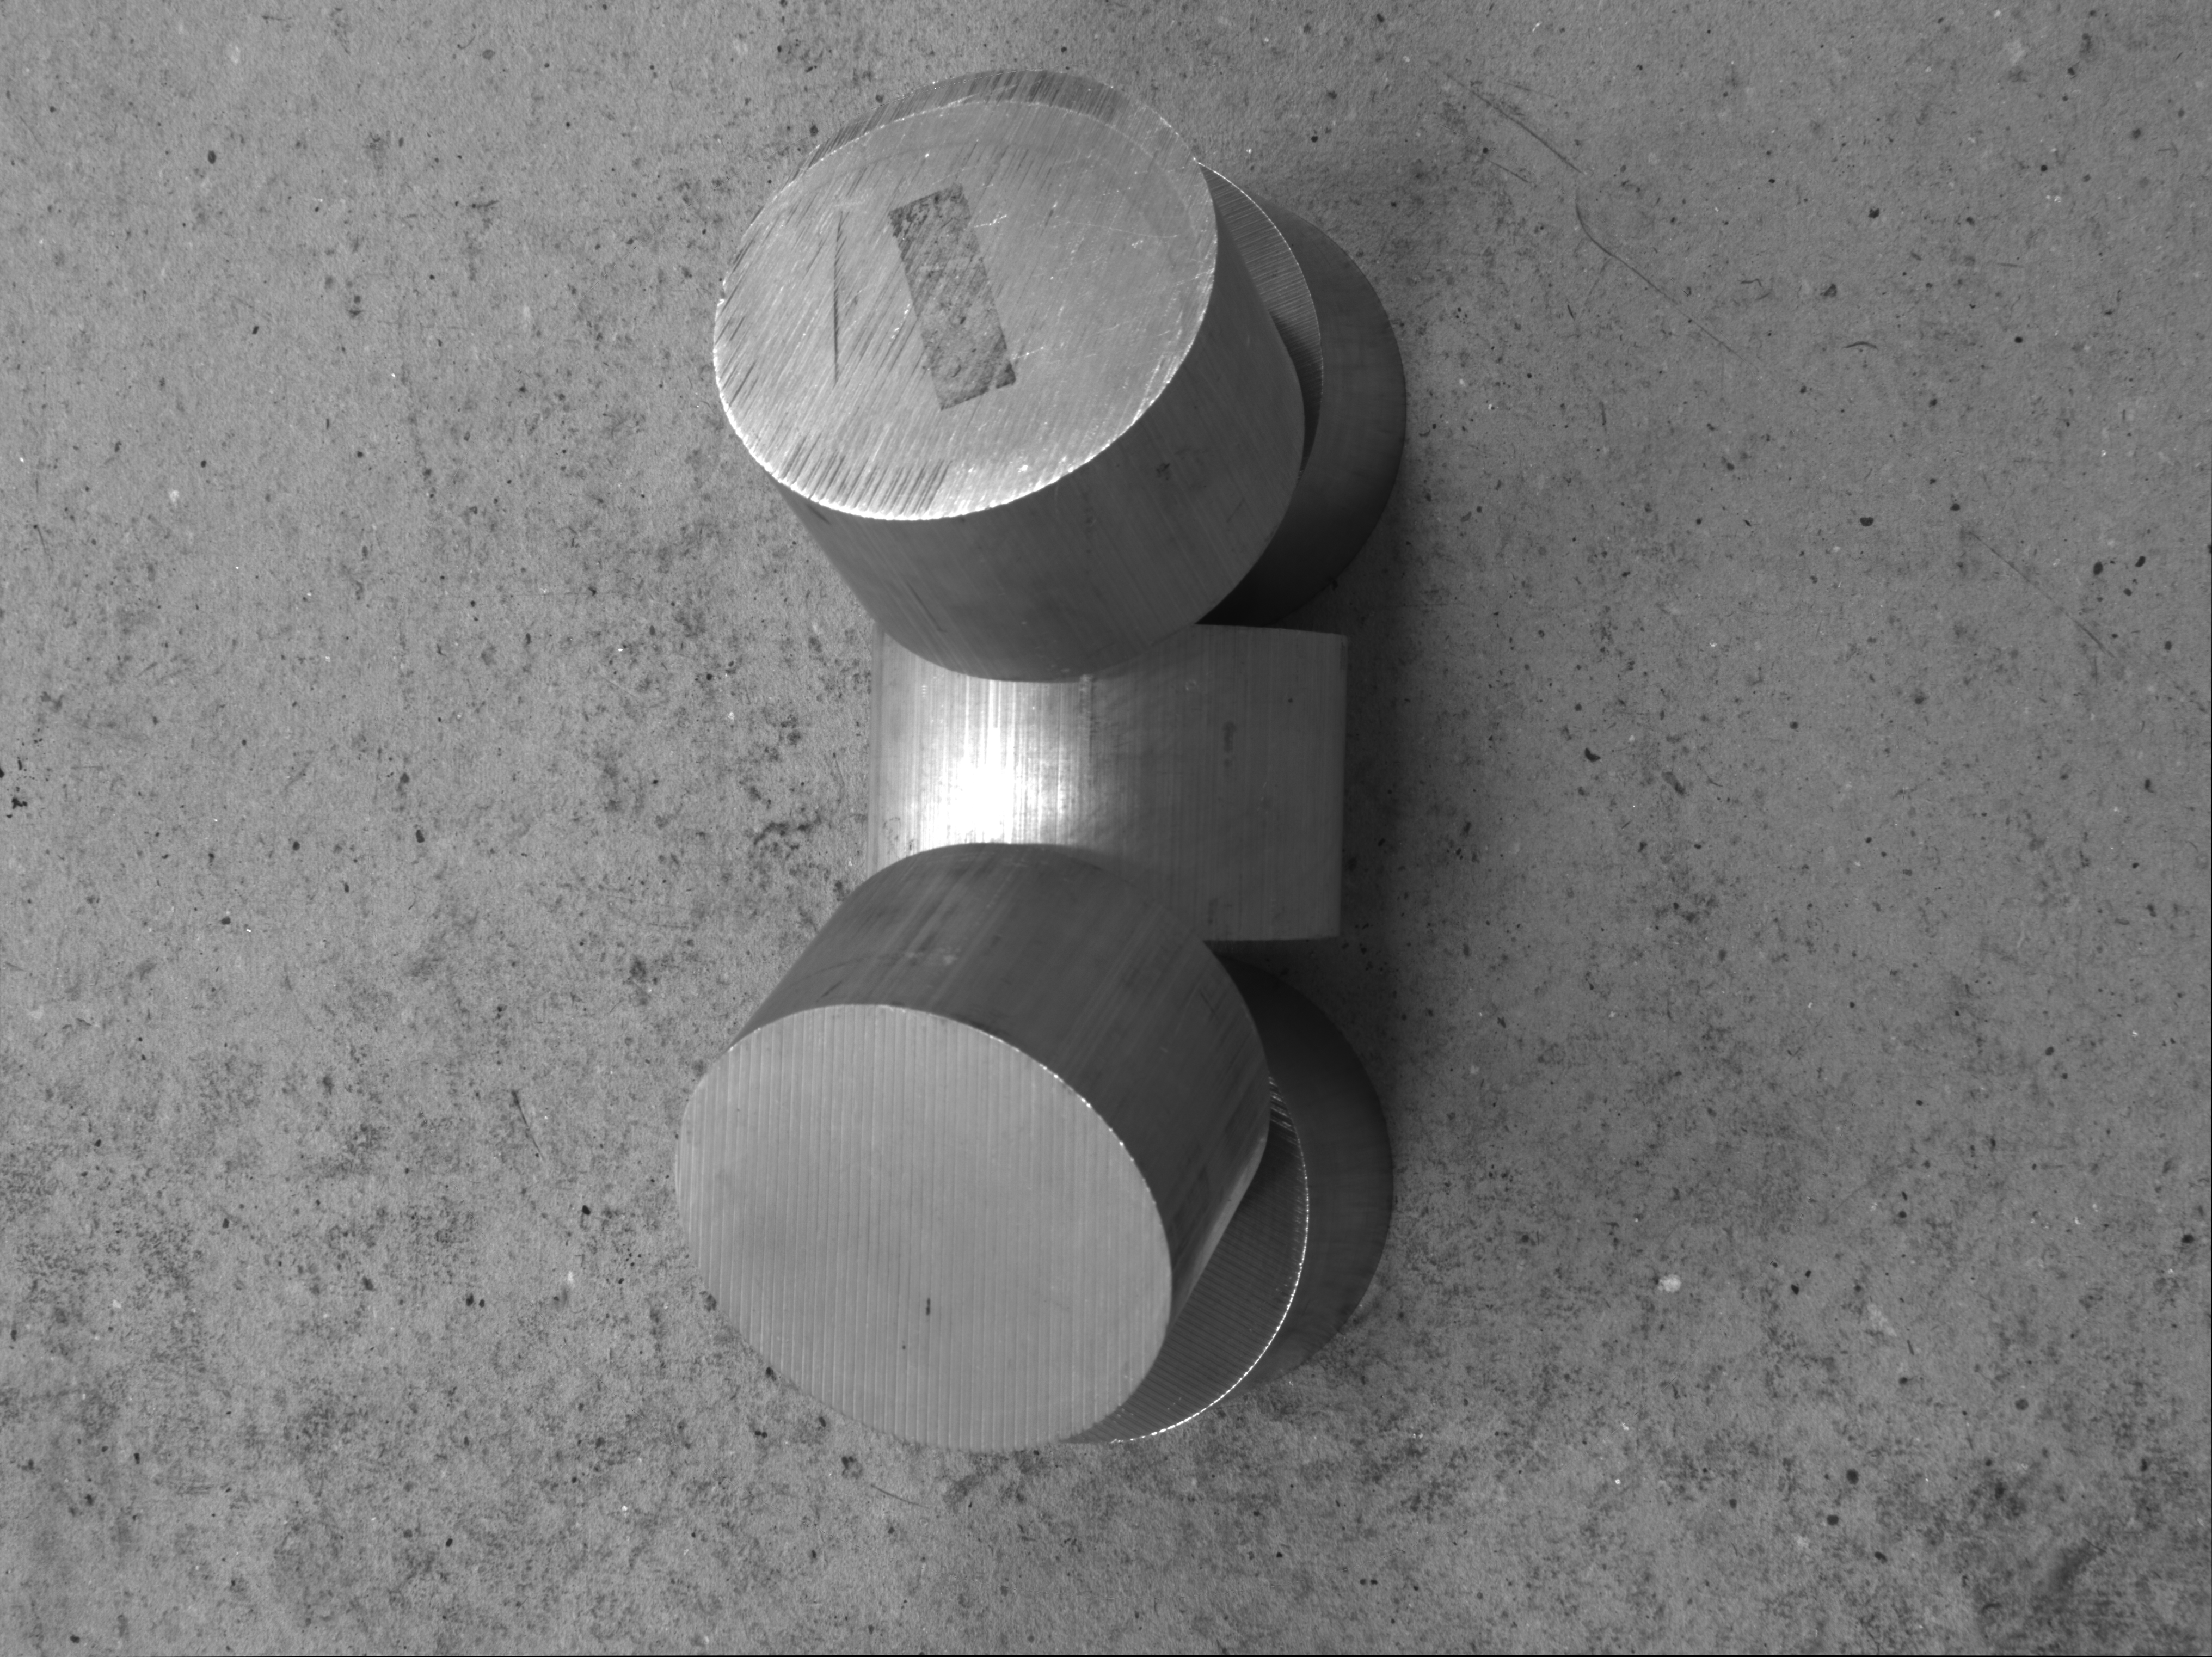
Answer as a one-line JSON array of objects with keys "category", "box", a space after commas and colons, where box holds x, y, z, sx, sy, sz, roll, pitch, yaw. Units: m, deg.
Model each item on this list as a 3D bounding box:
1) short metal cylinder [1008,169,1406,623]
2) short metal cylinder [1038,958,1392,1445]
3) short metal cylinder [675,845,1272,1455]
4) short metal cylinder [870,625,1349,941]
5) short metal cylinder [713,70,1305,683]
[{"category": "short metal cylinder", "box": [0.006, -0.074, 0.631, 0.080, 0.050, 0.080, 0, 90, 20]}, {"category": "short metal cylinder", "box": [0.004, 0.062, 0.632, 0.080, 0.050, 0.080, 0, 90, 20]}, {"category": "short metal cylinder", "box": [-0.020, 0.050, 0.570, 0.080, 0.050, 0.080, 9, 121, 16]}, {"category": "short metal cylinder", "box": [0.000, -0.008, 0.618, 0.080, 0.080, 0.050, 2, 90, 20]}, {"category": "short metal cylinder", "box": [-0.014, -0.070, 0.569, 0.080, 0.050, 0.080, -8, 62, 15]}]
